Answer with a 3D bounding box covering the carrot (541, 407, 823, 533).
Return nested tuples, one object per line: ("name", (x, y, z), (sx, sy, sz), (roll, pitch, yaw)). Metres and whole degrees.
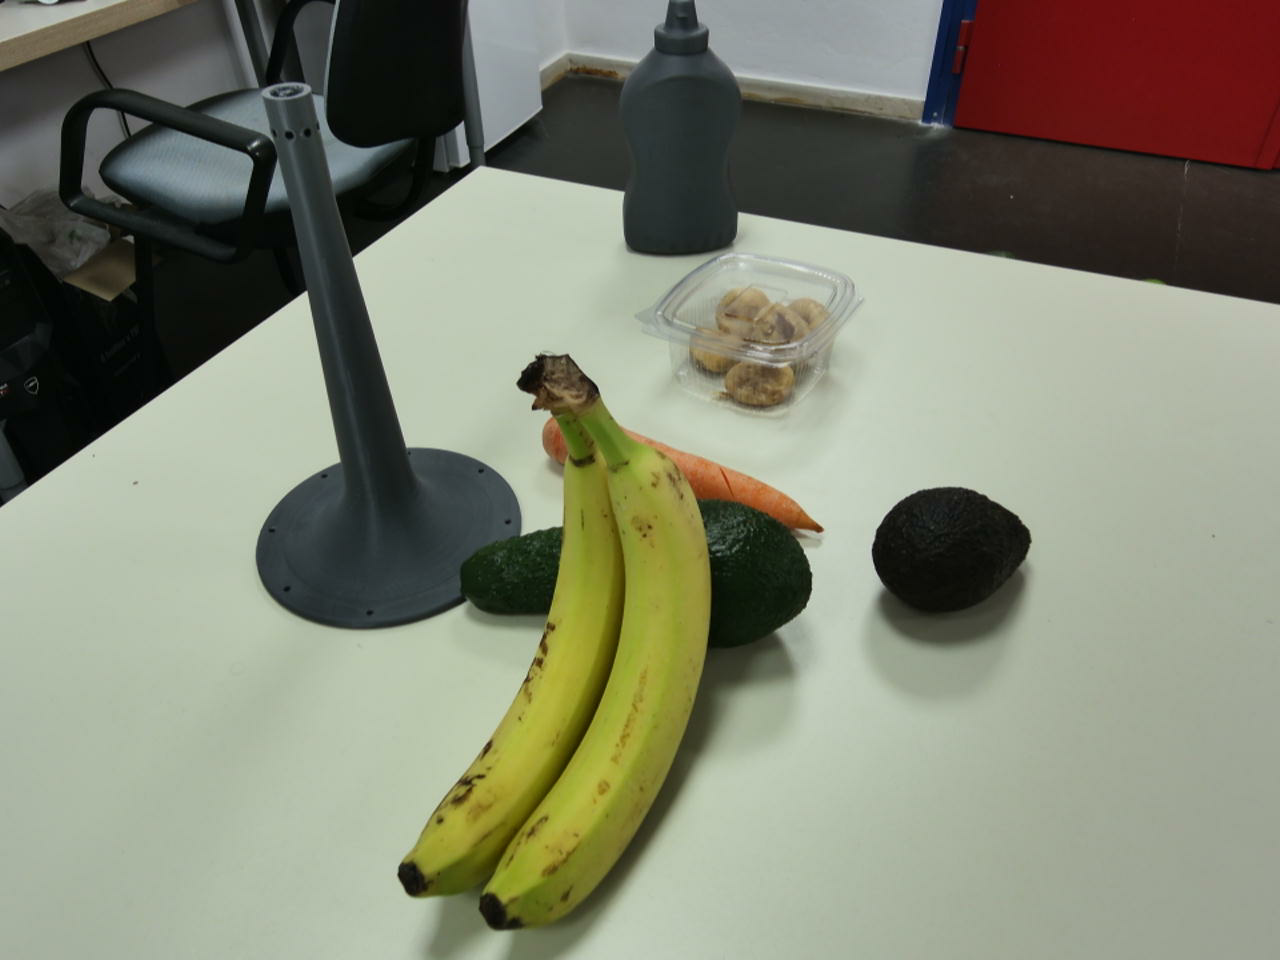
("carrot", (0.026, -0.007, 0.643), (0.196, 0.041, 0.039), (16, 41, 19))
